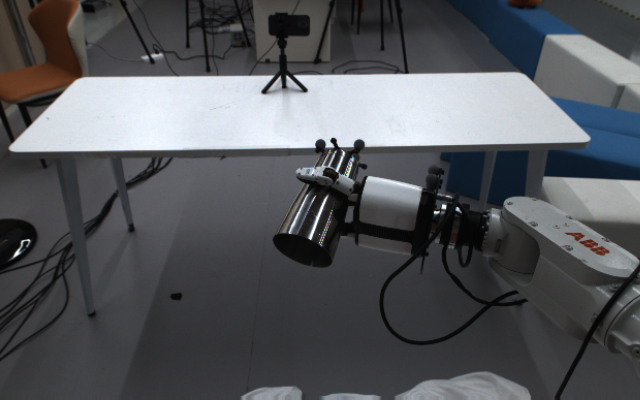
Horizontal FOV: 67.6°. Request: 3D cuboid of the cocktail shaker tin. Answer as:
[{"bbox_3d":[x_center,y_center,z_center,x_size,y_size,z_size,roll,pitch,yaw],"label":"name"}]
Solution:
[{"bbox_3d":[0.001,0.004,0.732,0.093,0.093,0.170,14,57,16],"label":"cocktail shaker tin"}]
